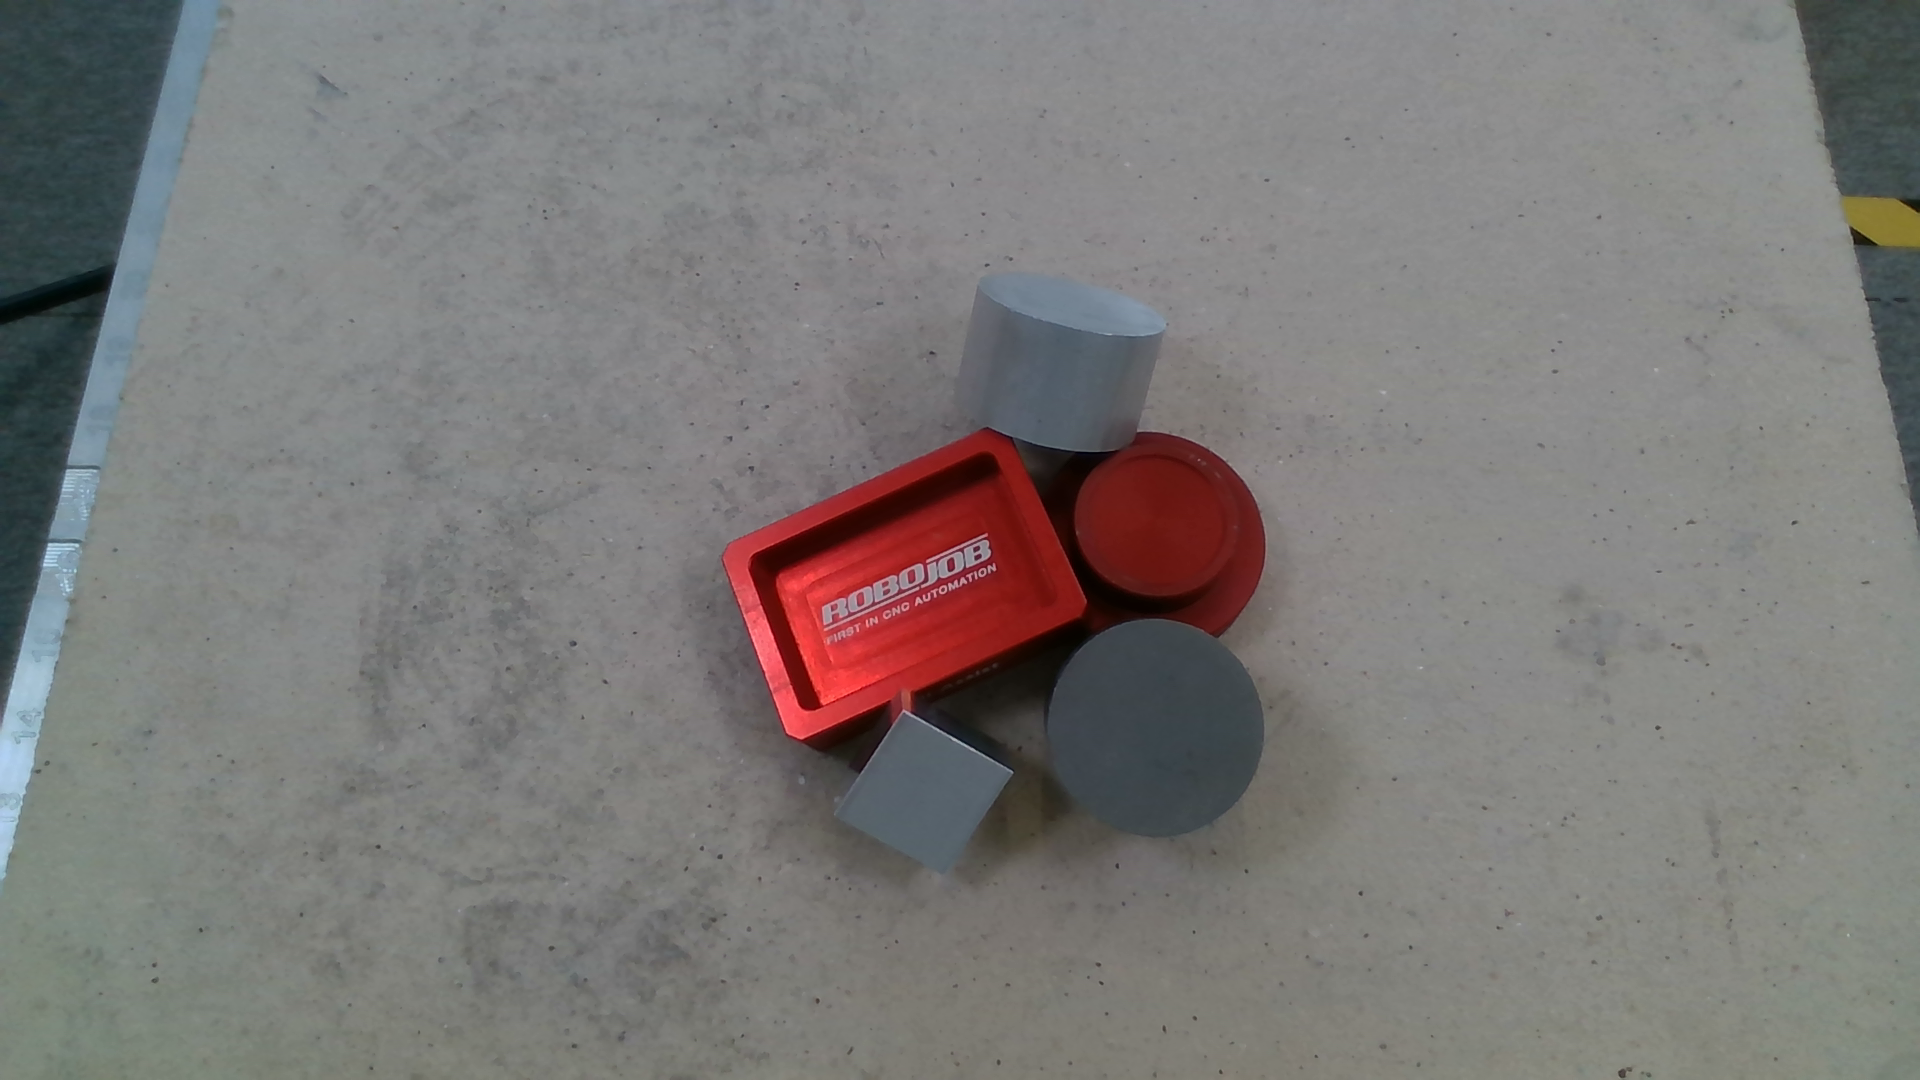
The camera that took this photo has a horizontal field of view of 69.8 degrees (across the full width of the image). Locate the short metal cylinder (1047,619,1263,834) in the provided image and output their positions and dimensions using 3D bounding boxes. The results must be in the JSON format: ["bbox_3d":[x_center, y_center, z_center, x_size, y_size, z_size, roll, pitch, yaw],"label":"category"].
[{"bbox_3d":[0.074,0.070,0.539,0.080,0.050,0.080,0,88,2],"label":"short metal cylinder"}]

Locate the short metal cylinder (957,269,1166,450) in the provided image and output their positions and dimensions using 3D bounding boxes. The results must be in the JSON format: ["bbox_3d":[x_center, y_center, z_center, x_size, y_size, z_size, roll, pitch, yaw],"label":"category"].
[{"bbox_3d":[0.041,-0.077,0.580,0.080,0.080,0.050,15,114,5],"label":"short metal cylinder"}]

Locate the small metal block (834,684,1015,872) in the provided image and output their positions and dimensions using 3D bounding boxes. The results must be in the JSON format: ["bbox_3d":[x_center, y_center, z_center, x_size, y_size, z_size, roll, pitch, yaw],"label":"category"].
[{"bbox_3d":[-0.015,0.093,0.537,0.050,0.025,0.050,31,100,-13],"label":"small metal block"}]

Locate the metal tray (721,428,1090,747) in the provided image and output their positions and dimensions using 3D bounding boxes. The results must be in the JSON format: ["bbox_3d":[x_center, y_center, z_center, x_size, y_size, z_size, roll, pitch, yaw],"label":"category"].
[{"bbox_3d":[-0.022,0.019,0.567,0.130,0.030,0.090,-24,72,2],"label":"metal tray"}]

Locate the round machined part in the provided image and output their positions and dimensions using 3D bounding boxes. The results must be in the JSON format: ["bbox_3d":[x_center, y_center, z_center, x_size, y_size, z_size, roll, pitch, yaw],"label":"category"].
[{"bbox_3d":[0.080,-0.002,0.581,0.098,0.042,0.098,0,70,0],"label":"round machined part"}]
